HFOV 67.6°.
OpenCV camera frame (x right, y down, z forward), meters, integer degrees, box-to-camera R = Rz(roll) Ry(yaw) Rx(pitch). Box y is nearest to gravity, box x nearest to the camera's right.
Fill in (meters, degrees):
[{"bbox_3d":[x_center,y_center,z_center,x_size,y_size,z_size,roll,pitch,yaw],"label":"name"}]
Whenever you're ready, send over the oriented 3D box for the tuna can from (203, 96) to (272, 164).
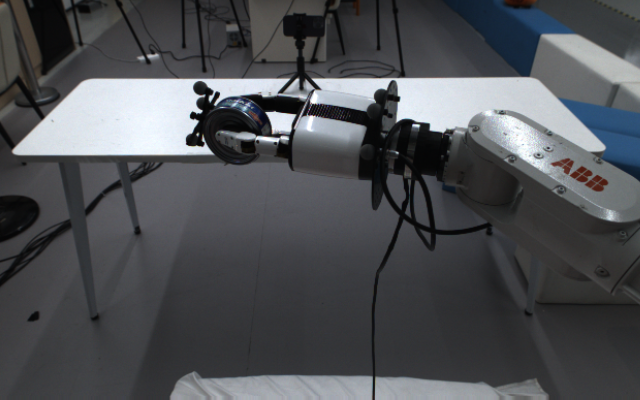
[{"bbox_3d":[-0.105,-0.088,0.631,0.085,0.085,0.034,8,36,8],"label":"tuna can"}]
